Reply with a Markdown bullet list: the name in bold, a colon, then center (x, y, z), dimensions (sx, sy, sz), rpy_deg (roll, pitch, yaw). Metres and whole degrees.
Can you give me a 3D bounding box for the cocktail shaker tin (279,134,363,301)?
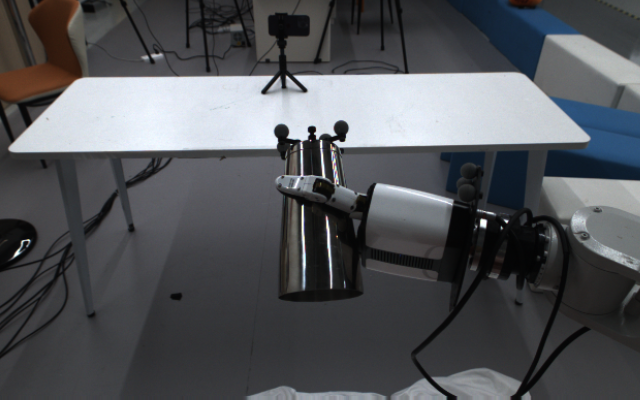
- **cocktail shaker tin**: center (-0.003, 0.024, 0.545), dimensions (0.093, 0.093, 0.170), rpy_deg (-2, 71, -6)
